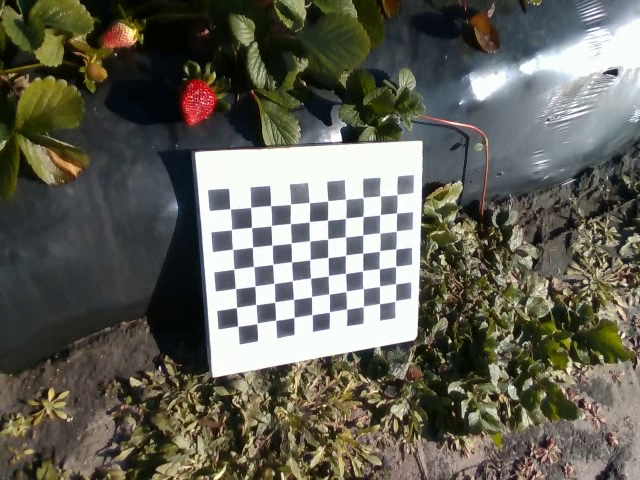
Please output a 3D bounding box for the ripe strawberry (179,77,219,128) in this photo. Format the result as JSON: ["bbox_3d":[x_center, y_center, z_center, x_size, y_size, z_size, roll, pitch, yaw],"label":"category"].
[{"bbox_3d":[-0.138,-0.147,0.709,0.065,0.058,0.062,41,21,-27],"label":"ripe strawberry"}]
